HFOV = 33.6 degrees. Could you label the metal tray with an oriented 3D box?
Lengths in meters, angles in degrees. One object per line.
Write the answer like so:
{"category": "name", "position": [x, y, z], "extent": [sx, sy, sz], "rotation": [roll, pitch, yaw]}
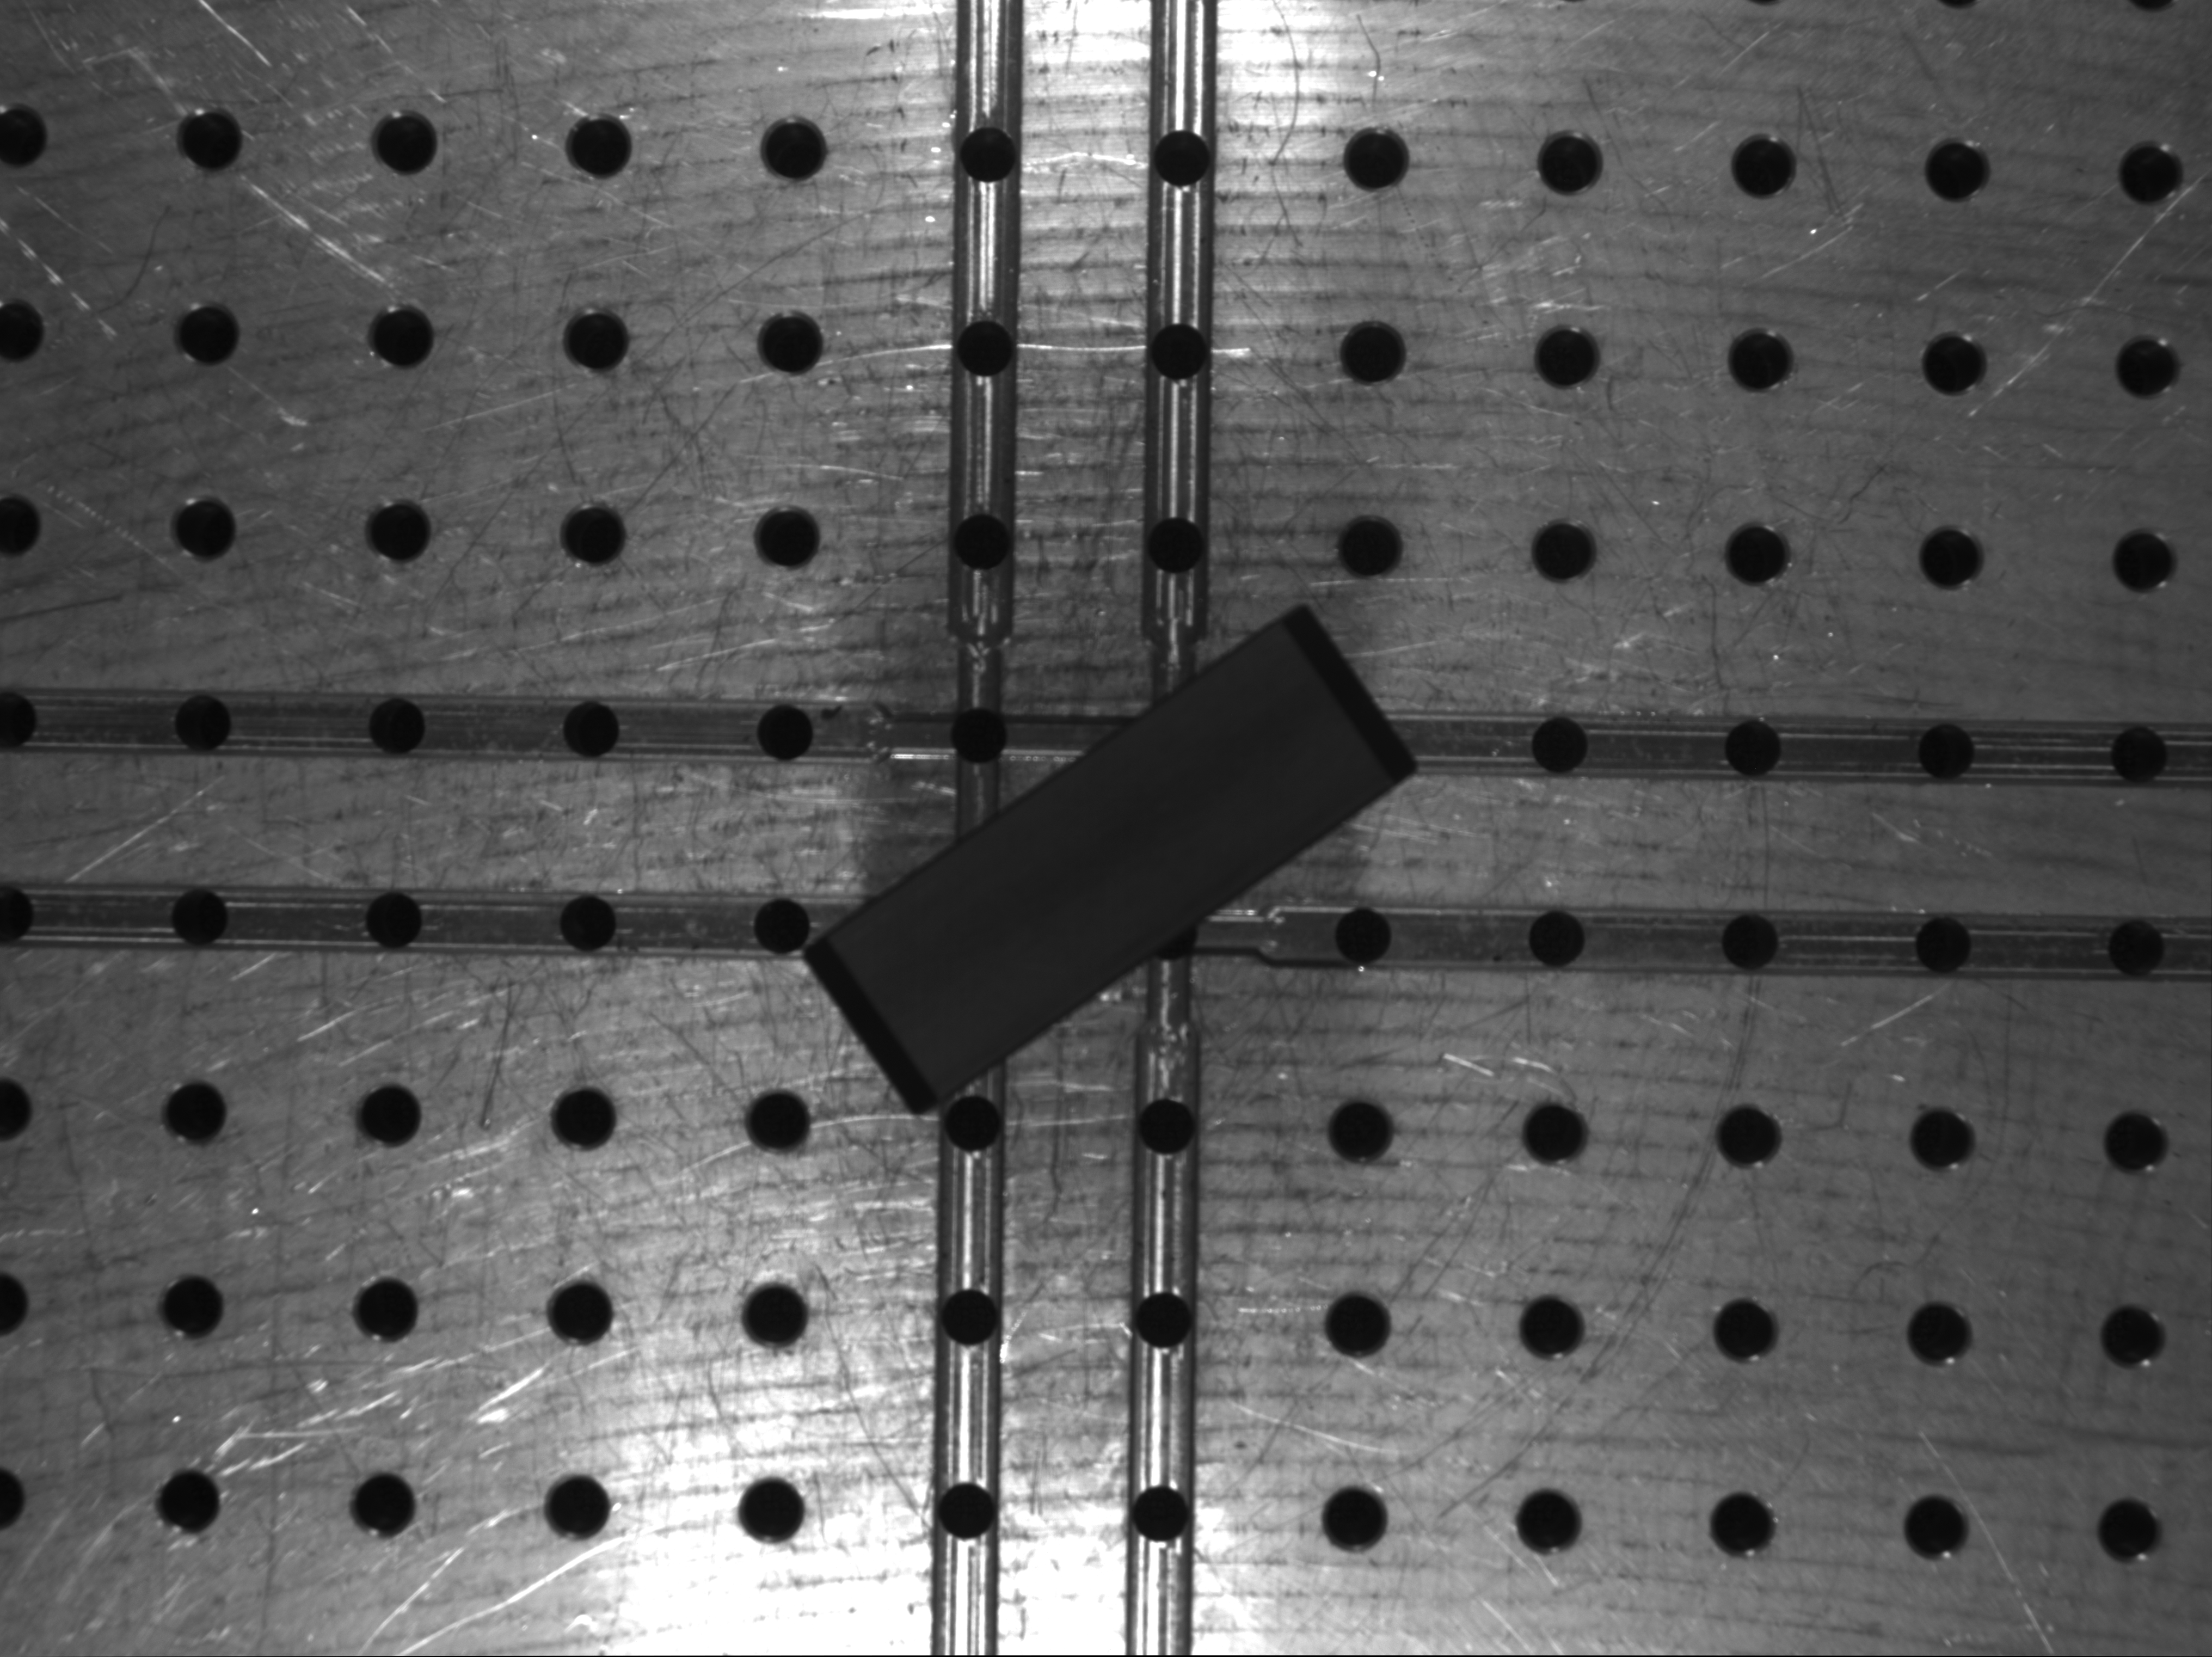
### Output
{"category": "metal tray", "position": [-0.001, 0.005, 0.595], "extent": [0.090, 0.130, 0.030], "rotation": [-35, 90, 0]}
